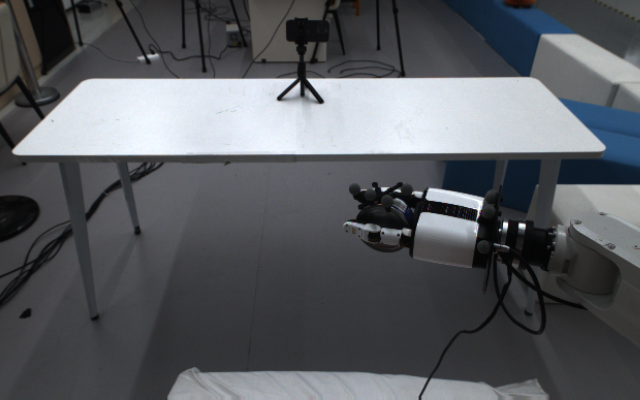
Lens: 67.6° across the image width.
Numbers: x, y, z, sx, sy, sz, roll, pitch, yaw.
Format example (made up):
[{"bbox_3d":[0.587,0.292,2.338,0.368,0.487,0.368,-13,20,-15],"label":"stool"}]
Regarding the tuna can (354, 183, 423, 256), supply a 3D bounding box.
[{"bbox_3d":[0.102,0.039,0.730,0.085,0.085,0.034,15,34,17],"label":"tuna can"}]
